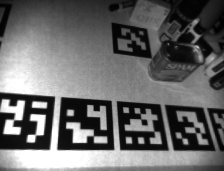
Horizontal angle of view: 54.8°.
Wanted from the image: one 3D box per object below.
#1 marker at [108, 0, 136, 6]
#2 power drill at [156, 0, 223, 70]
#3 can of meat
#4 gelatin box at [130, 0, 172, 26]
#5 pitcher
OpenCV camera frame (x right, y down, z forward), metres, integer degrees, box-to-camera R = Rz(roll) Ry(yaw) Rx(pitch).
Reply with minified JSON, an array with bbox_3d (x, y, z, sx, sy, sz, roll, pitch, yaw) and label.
[{"bbox_3d":[0.042,-0.243,0.605,0.122,0.019,0.019,-22,72,-26],"label":"marker"},{"bbox_3d":[0.216,-0.133,0.512,0.187,0.183,0.057,37,61,-3],"label":"power drill"},{"bbox_3d":[0.142,-0.059,0.503,0.103,0.083,0.057,3,60,-17],"label":"can of meat"},{"bbox_3d":[0.103,-0.202,0.576,0.090,0.073,0.030,14,63,-12],"label":"gelatin box"},{"bbox_3d":[0.262,-0.231,0.553,0.188,0.243,0.133,29,61,7],"label":"pitcher"}]
